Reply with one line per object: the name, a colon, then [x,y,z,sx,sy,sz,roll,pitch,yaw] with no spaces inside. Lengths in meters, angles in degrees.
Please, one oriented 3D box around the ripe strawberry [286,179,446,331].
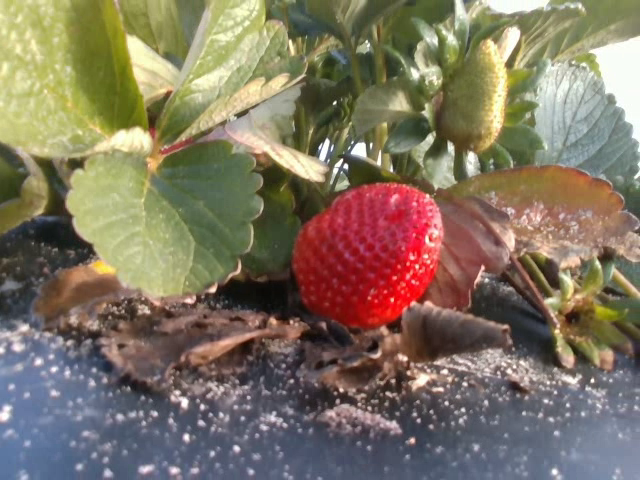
ripe strawberry: [0.009,0.002,0.103,0.031,0.026,0.030,-6,4,-23]
